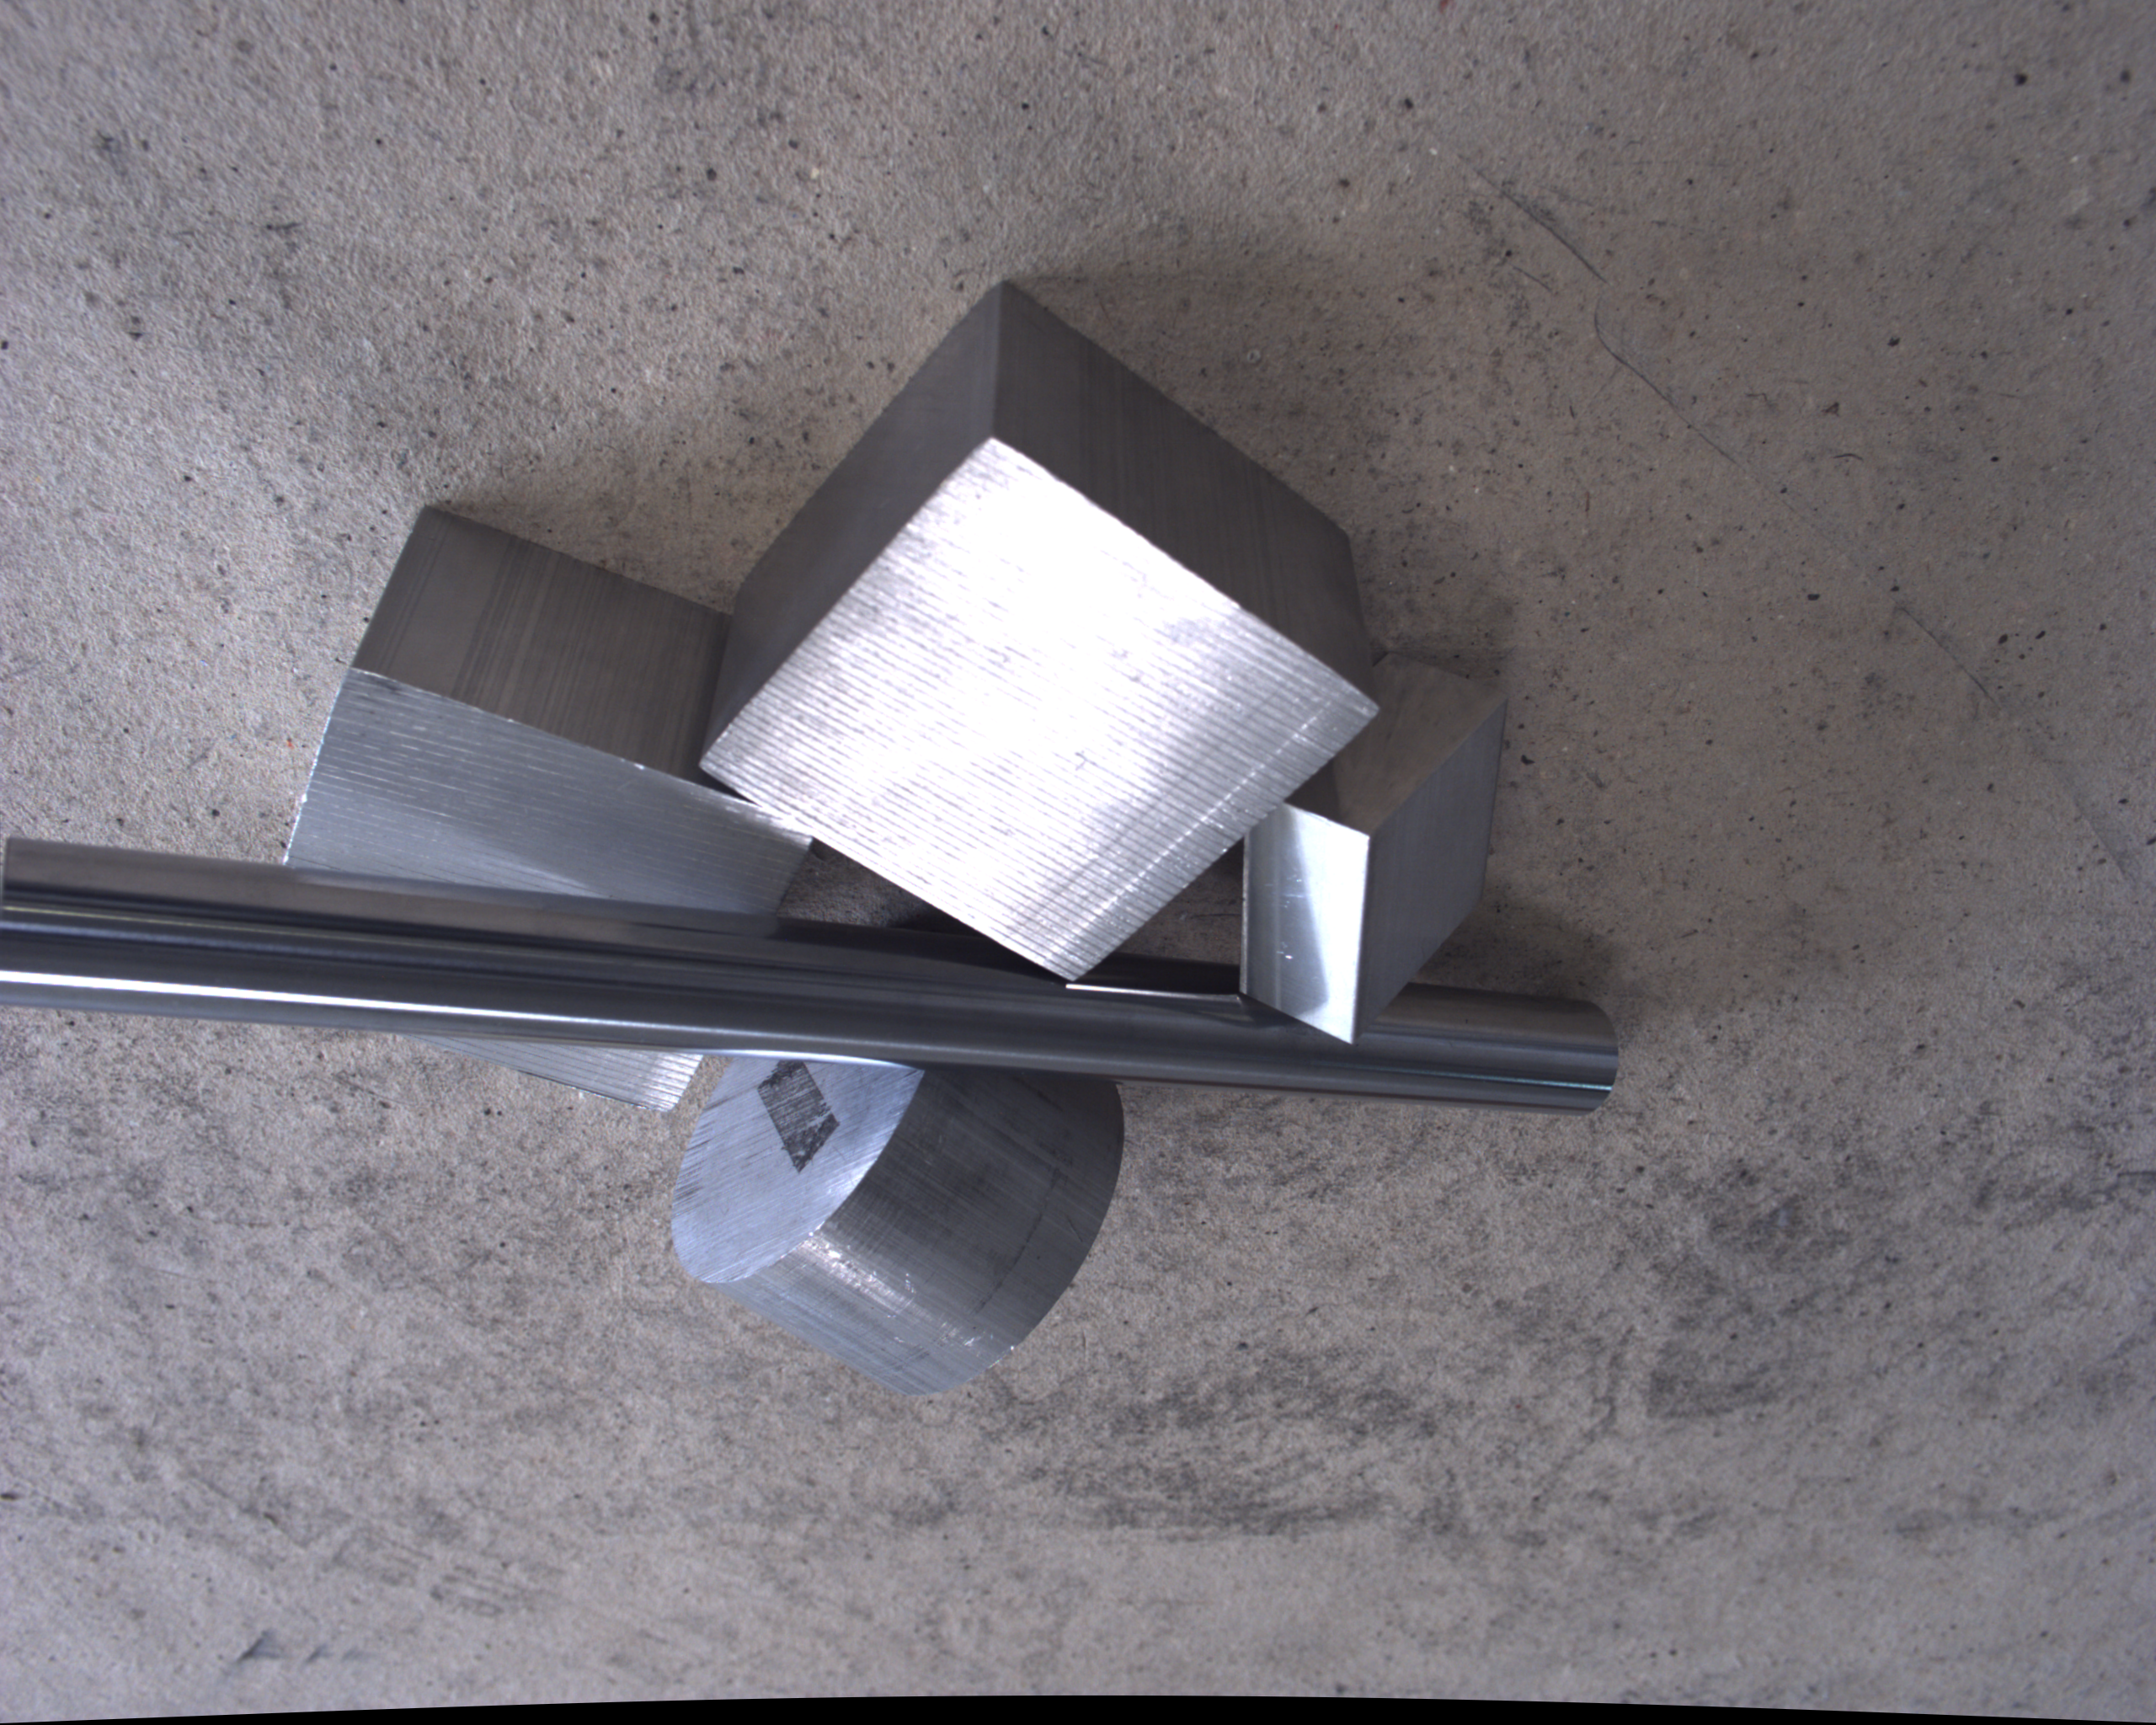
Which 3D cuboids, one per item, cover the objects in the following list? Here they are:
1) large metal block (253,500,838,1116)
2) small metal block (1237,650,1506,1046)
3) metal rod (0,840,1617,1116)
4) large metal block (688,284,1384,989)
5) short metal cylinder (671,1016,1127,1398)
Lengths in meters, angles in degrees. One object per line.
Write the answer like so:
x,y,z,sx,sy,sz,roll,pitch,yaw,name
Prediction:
-0.097,-0.008,0.384,0.080,0.050,0.079,19,127,-16,large metal block
0.054,-0.003,0.387,0.025,0.050,0.050,24,137,27,small metal block
-0.026,0.025,0.376,0.302,0.025,0.025,7,132,-28,metal rod
-0.007,-0.036,0.358,0.080,0.050,0.080,32,123,-25,large metal block
-0.037,0.060,0.423,0.080,0.080,0.050,-36,122,26,short metal cylinder
